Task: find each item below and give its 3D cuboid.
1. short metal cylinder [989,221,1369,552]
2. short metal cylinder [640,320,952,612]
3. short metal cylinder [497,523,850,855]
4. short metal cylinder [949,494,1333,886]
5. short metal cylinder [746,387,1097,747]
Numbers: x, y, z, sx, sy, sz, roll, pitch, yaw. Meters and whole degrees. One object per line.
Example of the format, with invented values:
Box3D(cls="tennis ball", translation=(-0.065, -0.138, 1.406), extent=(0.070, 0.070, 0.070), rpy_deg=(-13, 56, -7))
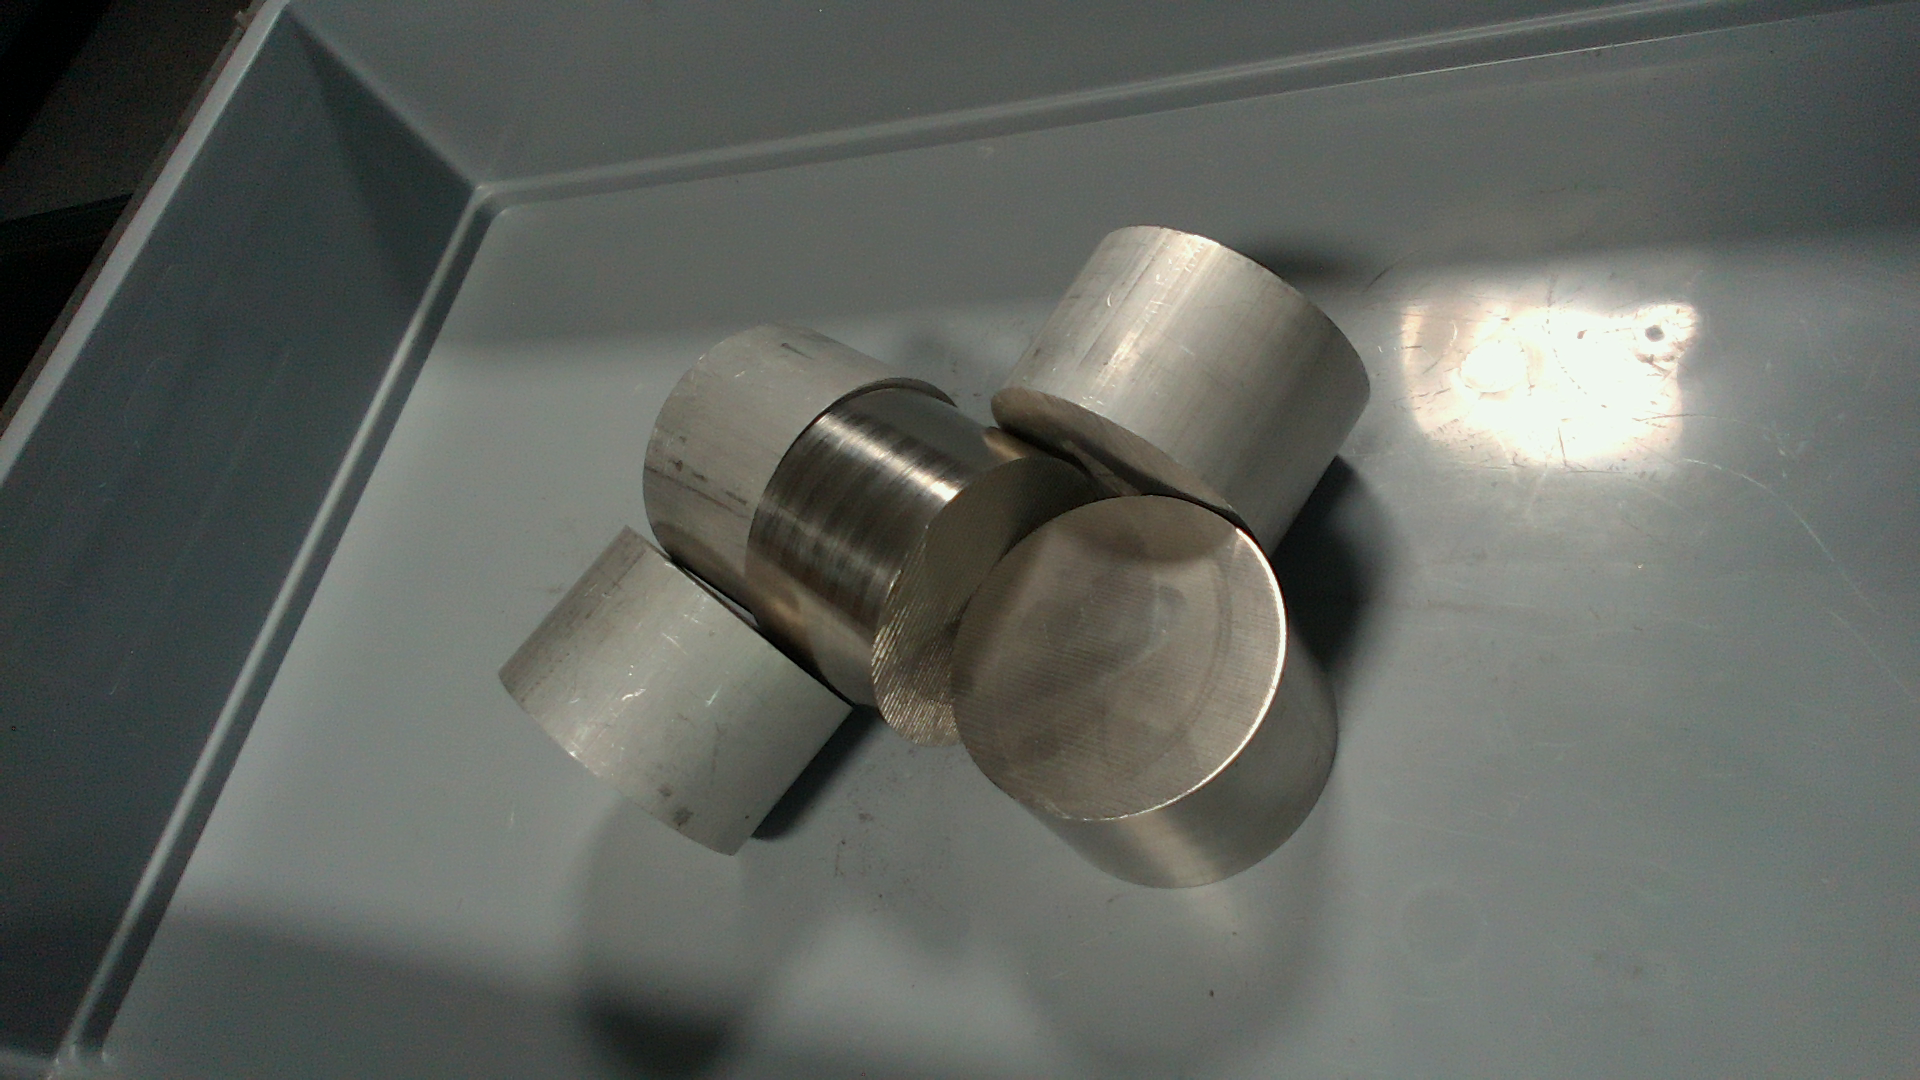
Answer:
Box3D(cls="short metal cylinder", translation=(0.054, -0.034, 0.348), extent=(0.080, 0.080, 0.050), rpy_deg=(26, 76, 37))
Box3D(cls="short metal cylinder", translation=(-0.042, -0.016, 0.390), extent=(0.050, 0.080, 0.080), rpy_deg=(28, 77, 38))
Box3D(cls="short metal cylinder", translation=(-0.076, 0.040, 0.373), extent=(0.080, 0.080, 0.050), rpy_deg=(33, 81, 38))
Box3D(cls="short metal cylinder", translation=(0.044, 0.036, 0.329), extent=(0.080, 0.050, 0.080), rpy_deg=(-14, 56, 21))
Box3D(cls="short metal cylinder", translation=(-0.008, 0.006, 0.358), extent=(0.050, 0.080, 0.080), rpy_deg=(30, 78, 38))
